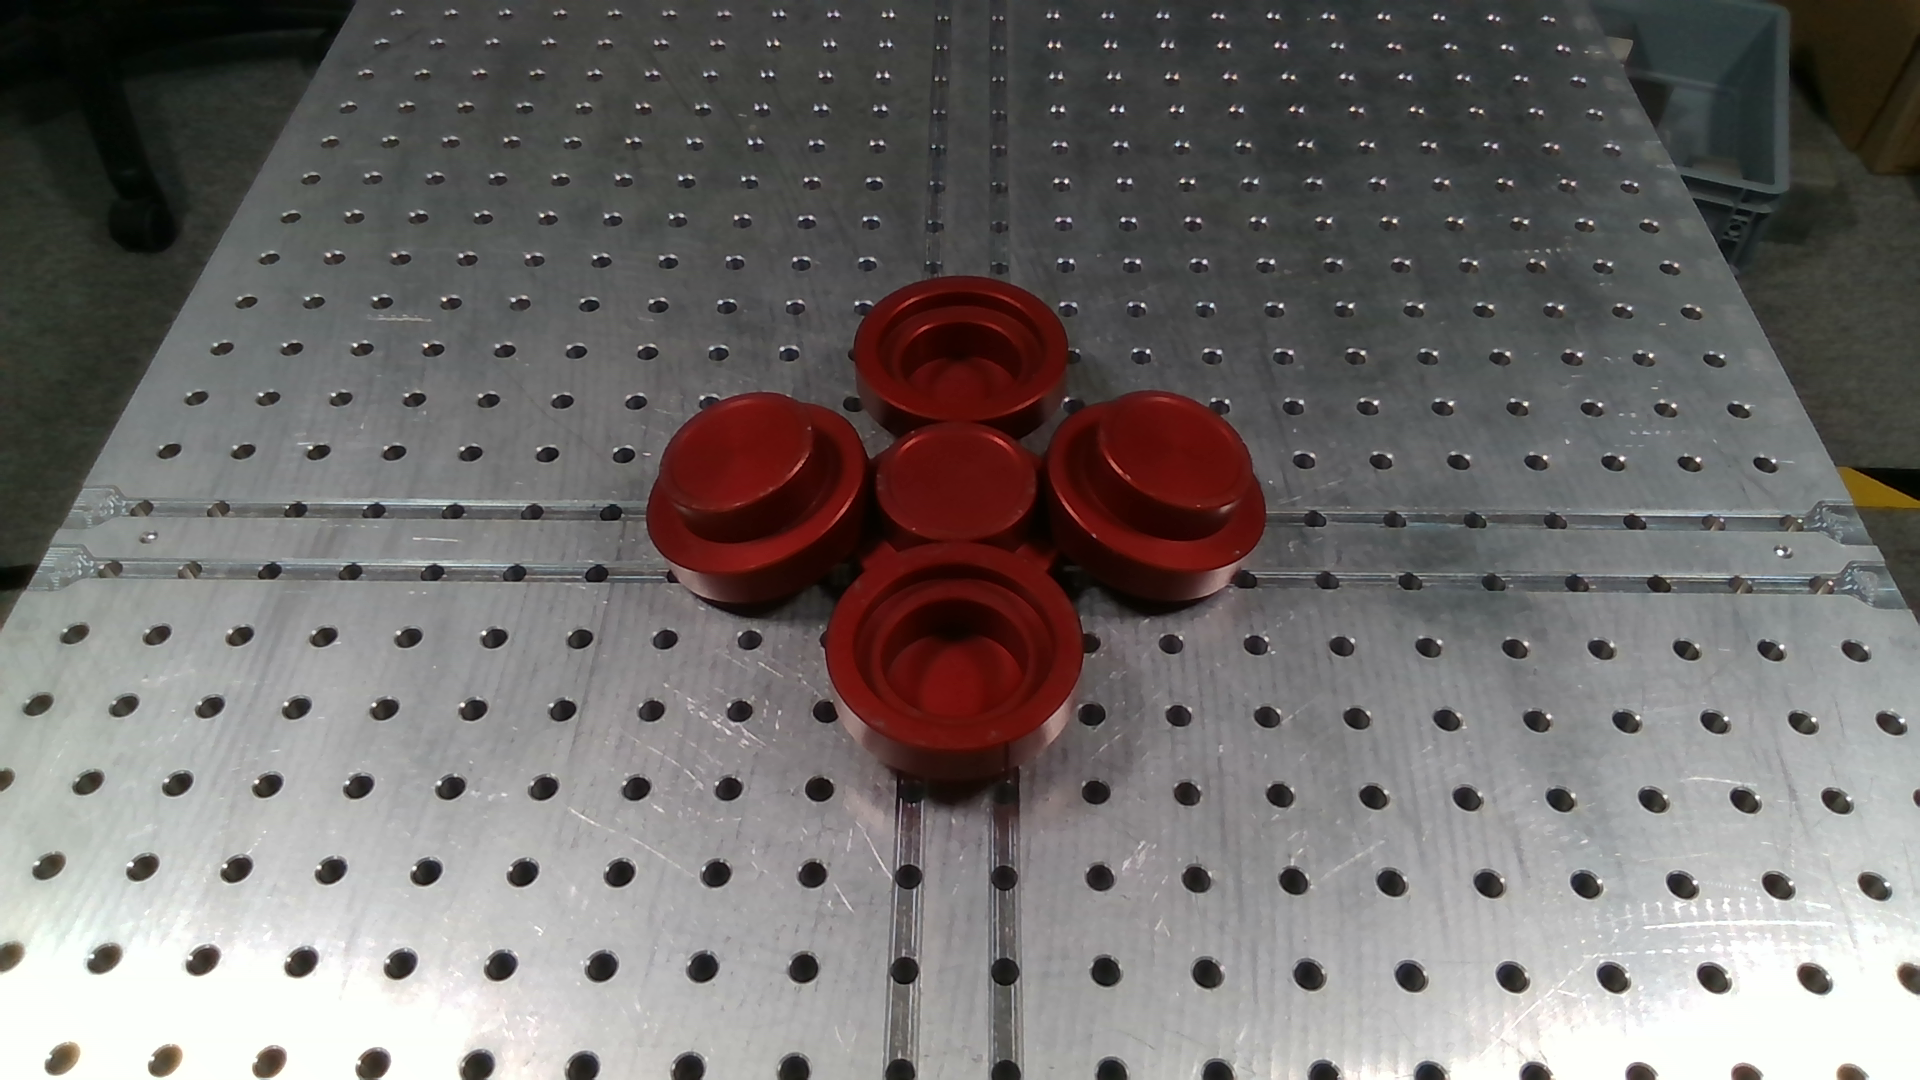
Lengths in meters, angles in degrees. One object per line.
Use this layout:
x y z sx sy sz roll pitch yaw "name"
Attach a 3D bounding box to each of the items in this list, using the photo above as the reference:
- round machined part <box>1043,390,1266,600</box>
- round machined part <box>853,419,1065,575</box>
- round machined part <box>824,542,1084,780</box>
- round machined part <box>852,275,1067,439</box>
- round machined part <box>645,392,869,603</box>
0.084 -0.026 0.585 0.098 0.042 0.098 10 47 -11 "round machined part"
-0.002 -0.014 0.589 0.098 0.042 0.098 0 50 0 "round machined part"
-0.002 0.051 0.536 0.098 0.042 0.098 0 50 0 "round machined part"
0.000 -0.077 0.642 0.098 0.042 0.098 0 50 0 "round machined part"
-0.088 -0.024 0.584 0.098 0.042 0.098 -10 49 11 "round machined part"
